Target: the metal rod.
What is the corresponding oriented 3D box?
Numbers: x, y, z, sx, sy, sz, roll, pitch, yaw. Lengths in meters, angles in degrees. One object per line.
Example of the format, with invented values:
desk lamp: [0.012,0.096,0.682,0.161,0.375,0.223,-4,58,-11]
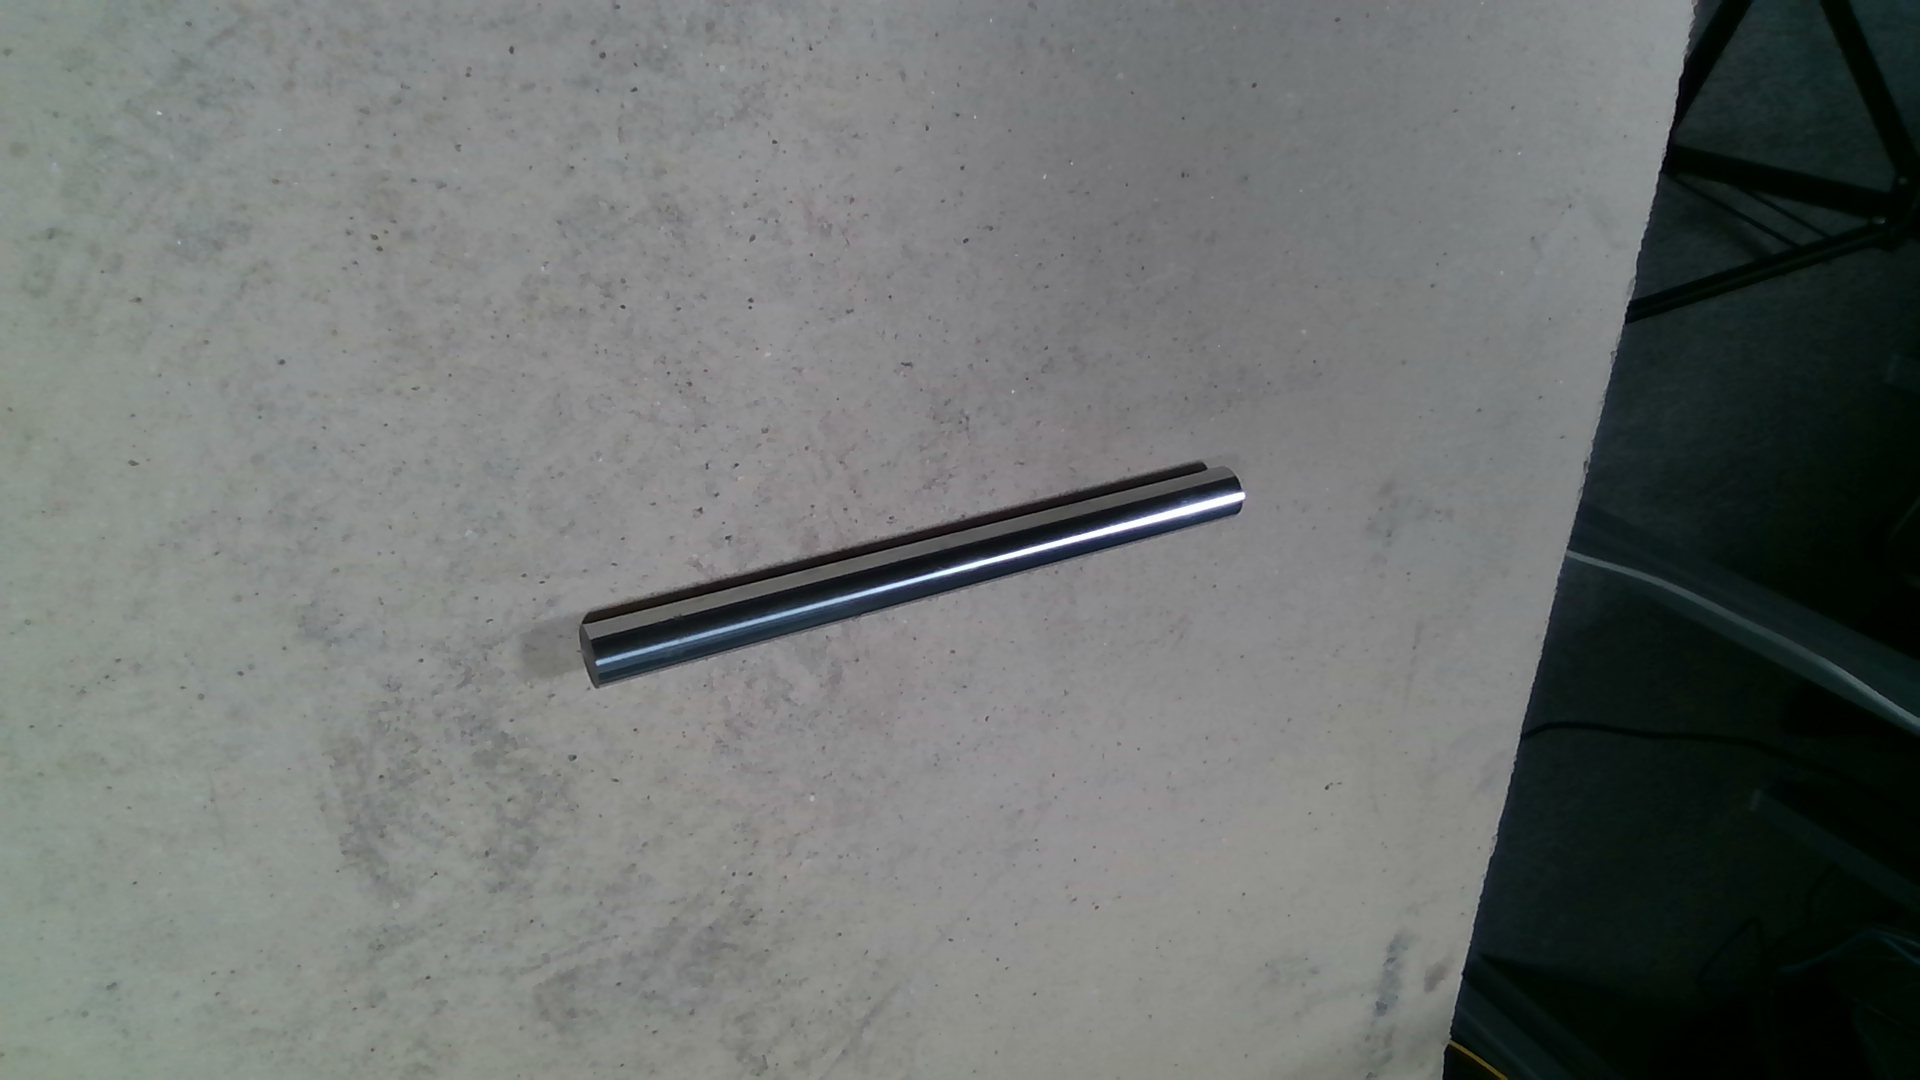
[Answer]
metal rod: [-0.008,0.010,0.581,0.300,0.025,0.025,-14,121,-25]
